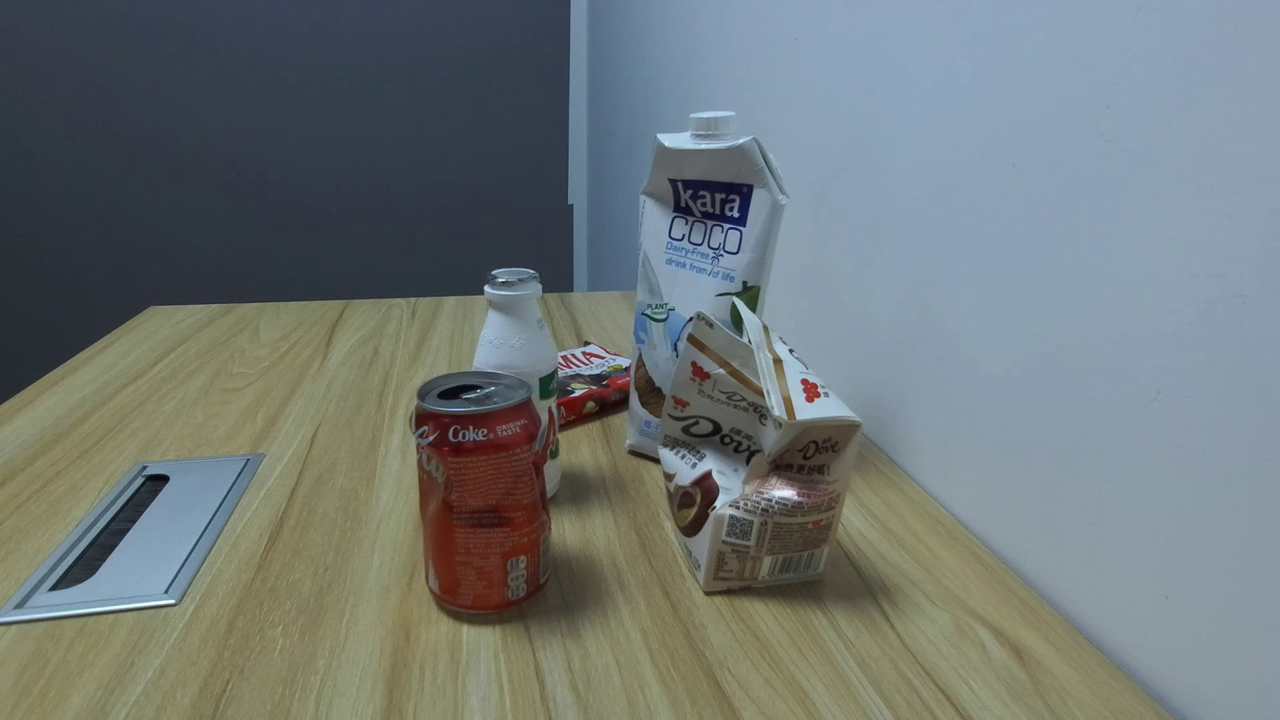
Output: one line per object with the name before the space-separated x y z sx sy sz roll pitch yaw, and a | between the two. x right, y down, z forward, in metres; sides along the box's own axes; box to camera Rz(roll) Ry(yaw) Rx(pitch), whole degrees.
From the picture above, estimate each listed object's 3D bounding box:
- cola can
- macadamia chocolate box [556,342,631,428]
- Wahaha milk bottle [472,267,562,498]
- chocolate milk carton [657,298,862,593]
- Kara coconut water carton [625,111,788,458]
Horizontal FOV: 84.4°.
cola can | -0.079 0.066 0.359 0.066 0.117 0.065 -5 21 -16
macadamia chocolate box | -0.077 0.026 0.589 0.184 0.028 0.105 -17 26 -40
Wahaha milk bottle | -0.077 0.017 0.446 0.056 0.148 0.056 1 23 0
chocolate milk carton | 0.059 0.048 0.375 0.077 0.155 0.089 -9 37 -13
Kara coconut water carton | 0.041 -0.044 0.482 0.114 0.238 0.069 17 23 30
